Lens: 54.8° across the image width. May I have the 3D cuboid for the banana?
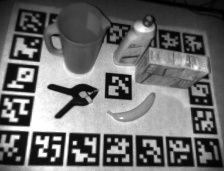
[{"bbox_3d":[0.086,0.057,0.795,0.198,0.039,0.074,-27,77,-20],"label":"banana"}]

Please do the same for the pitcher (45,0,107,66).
[{"bbox_3d":[-0.111,-0.159,0.690,0.190,0.242,0.132,-12,71,-18],"label":"pitcher"}]

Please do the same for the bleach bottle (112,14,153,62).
[{"bbox_3d":[0.072,-0.170,0.755,0.103,0.250,0.067,6,67,-8],"label":"bleach bottle"}]

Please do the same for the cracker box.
[{"bbox_3d":[0.215,-0.074,0.780,0.214,0.164,0.072,7,65,-7],"label":"cracker box"}]

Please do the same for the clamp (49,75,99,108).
[{"bbox_3d":[-0.128,0.009,0.758,0.166,0.036,0.121,-9,70,-17],"label":"clamp"}]
